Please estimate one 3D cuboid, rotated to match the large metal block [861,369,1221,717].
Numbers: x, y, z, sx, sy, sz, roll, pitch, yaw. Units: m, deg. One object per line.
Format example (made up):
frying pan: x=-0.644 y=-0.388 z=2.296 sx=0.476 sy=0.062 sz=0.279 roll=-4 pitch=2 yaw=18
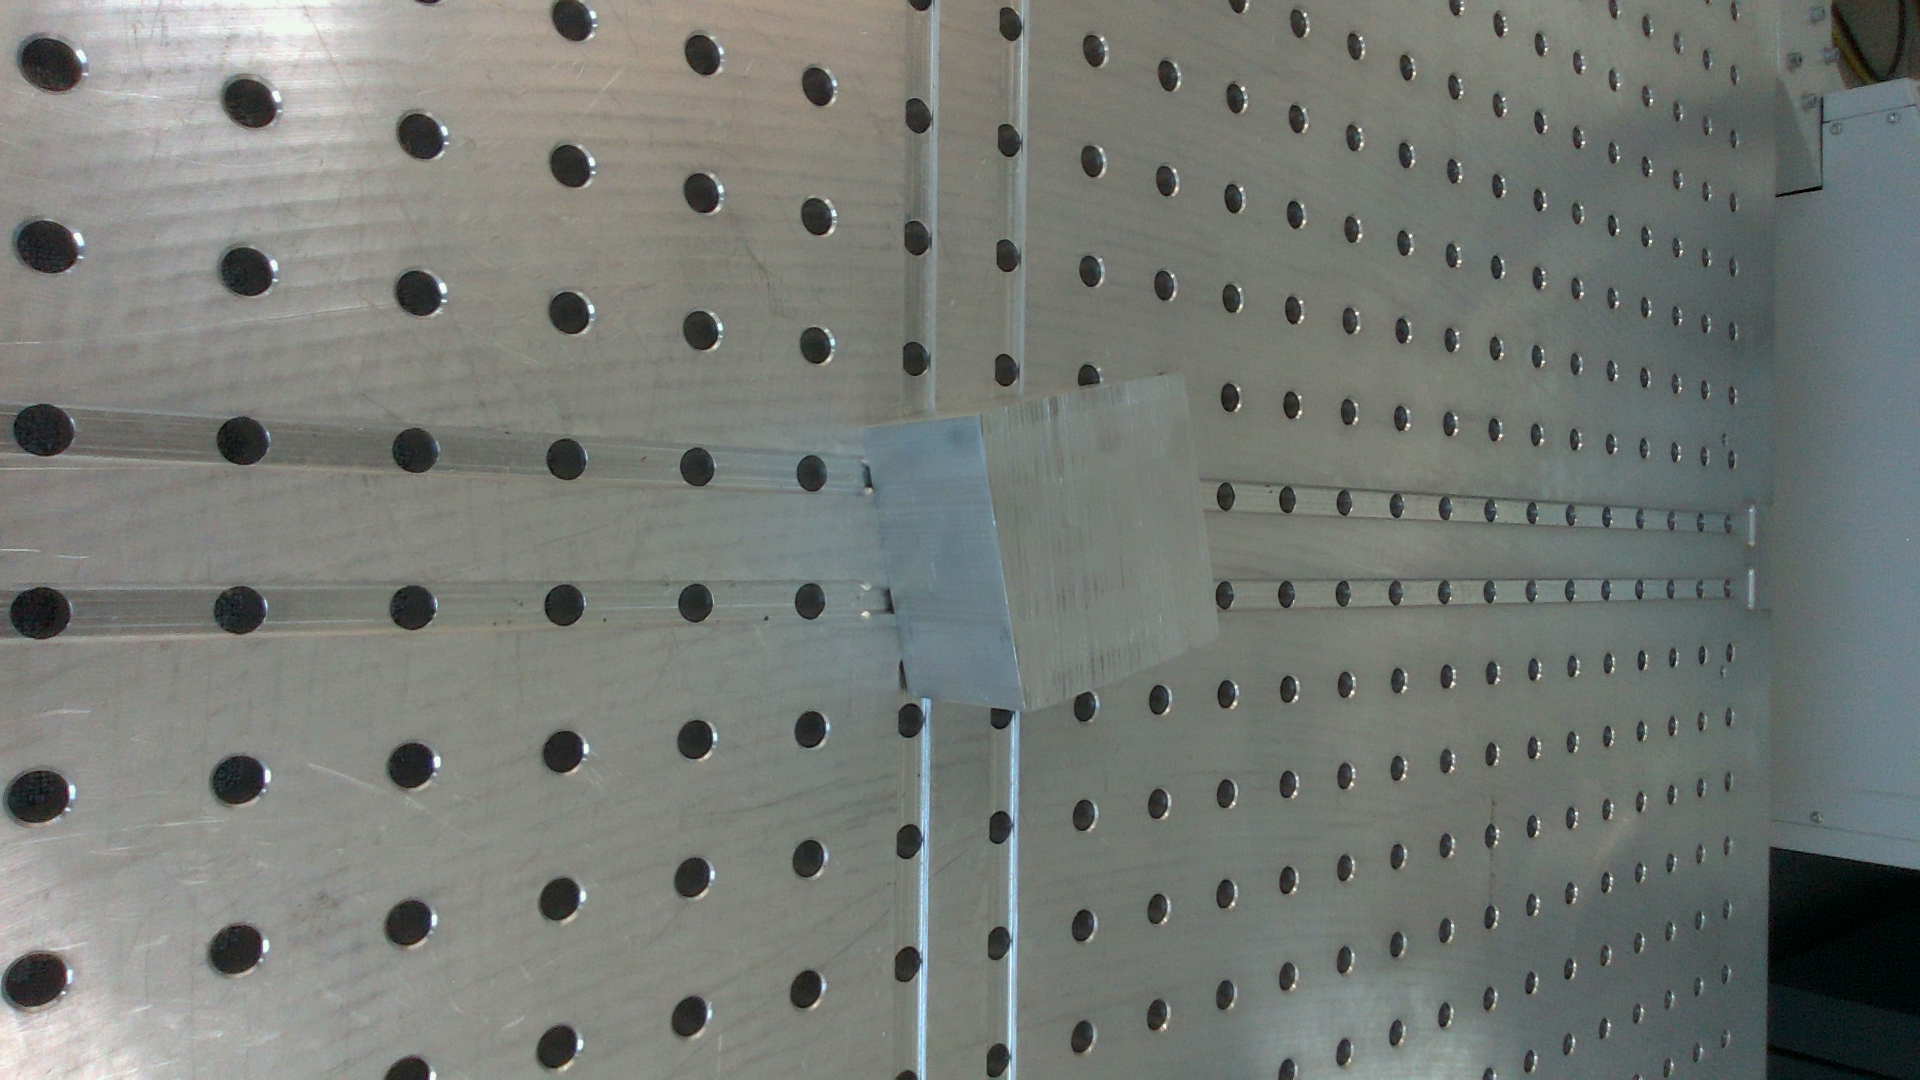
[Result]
large metal block: x=0.025 y=-0.002 z=0.395 sx=0.080 sy=0.050 sz=0.080 roll=-15 pitch=100 yaw=-39
